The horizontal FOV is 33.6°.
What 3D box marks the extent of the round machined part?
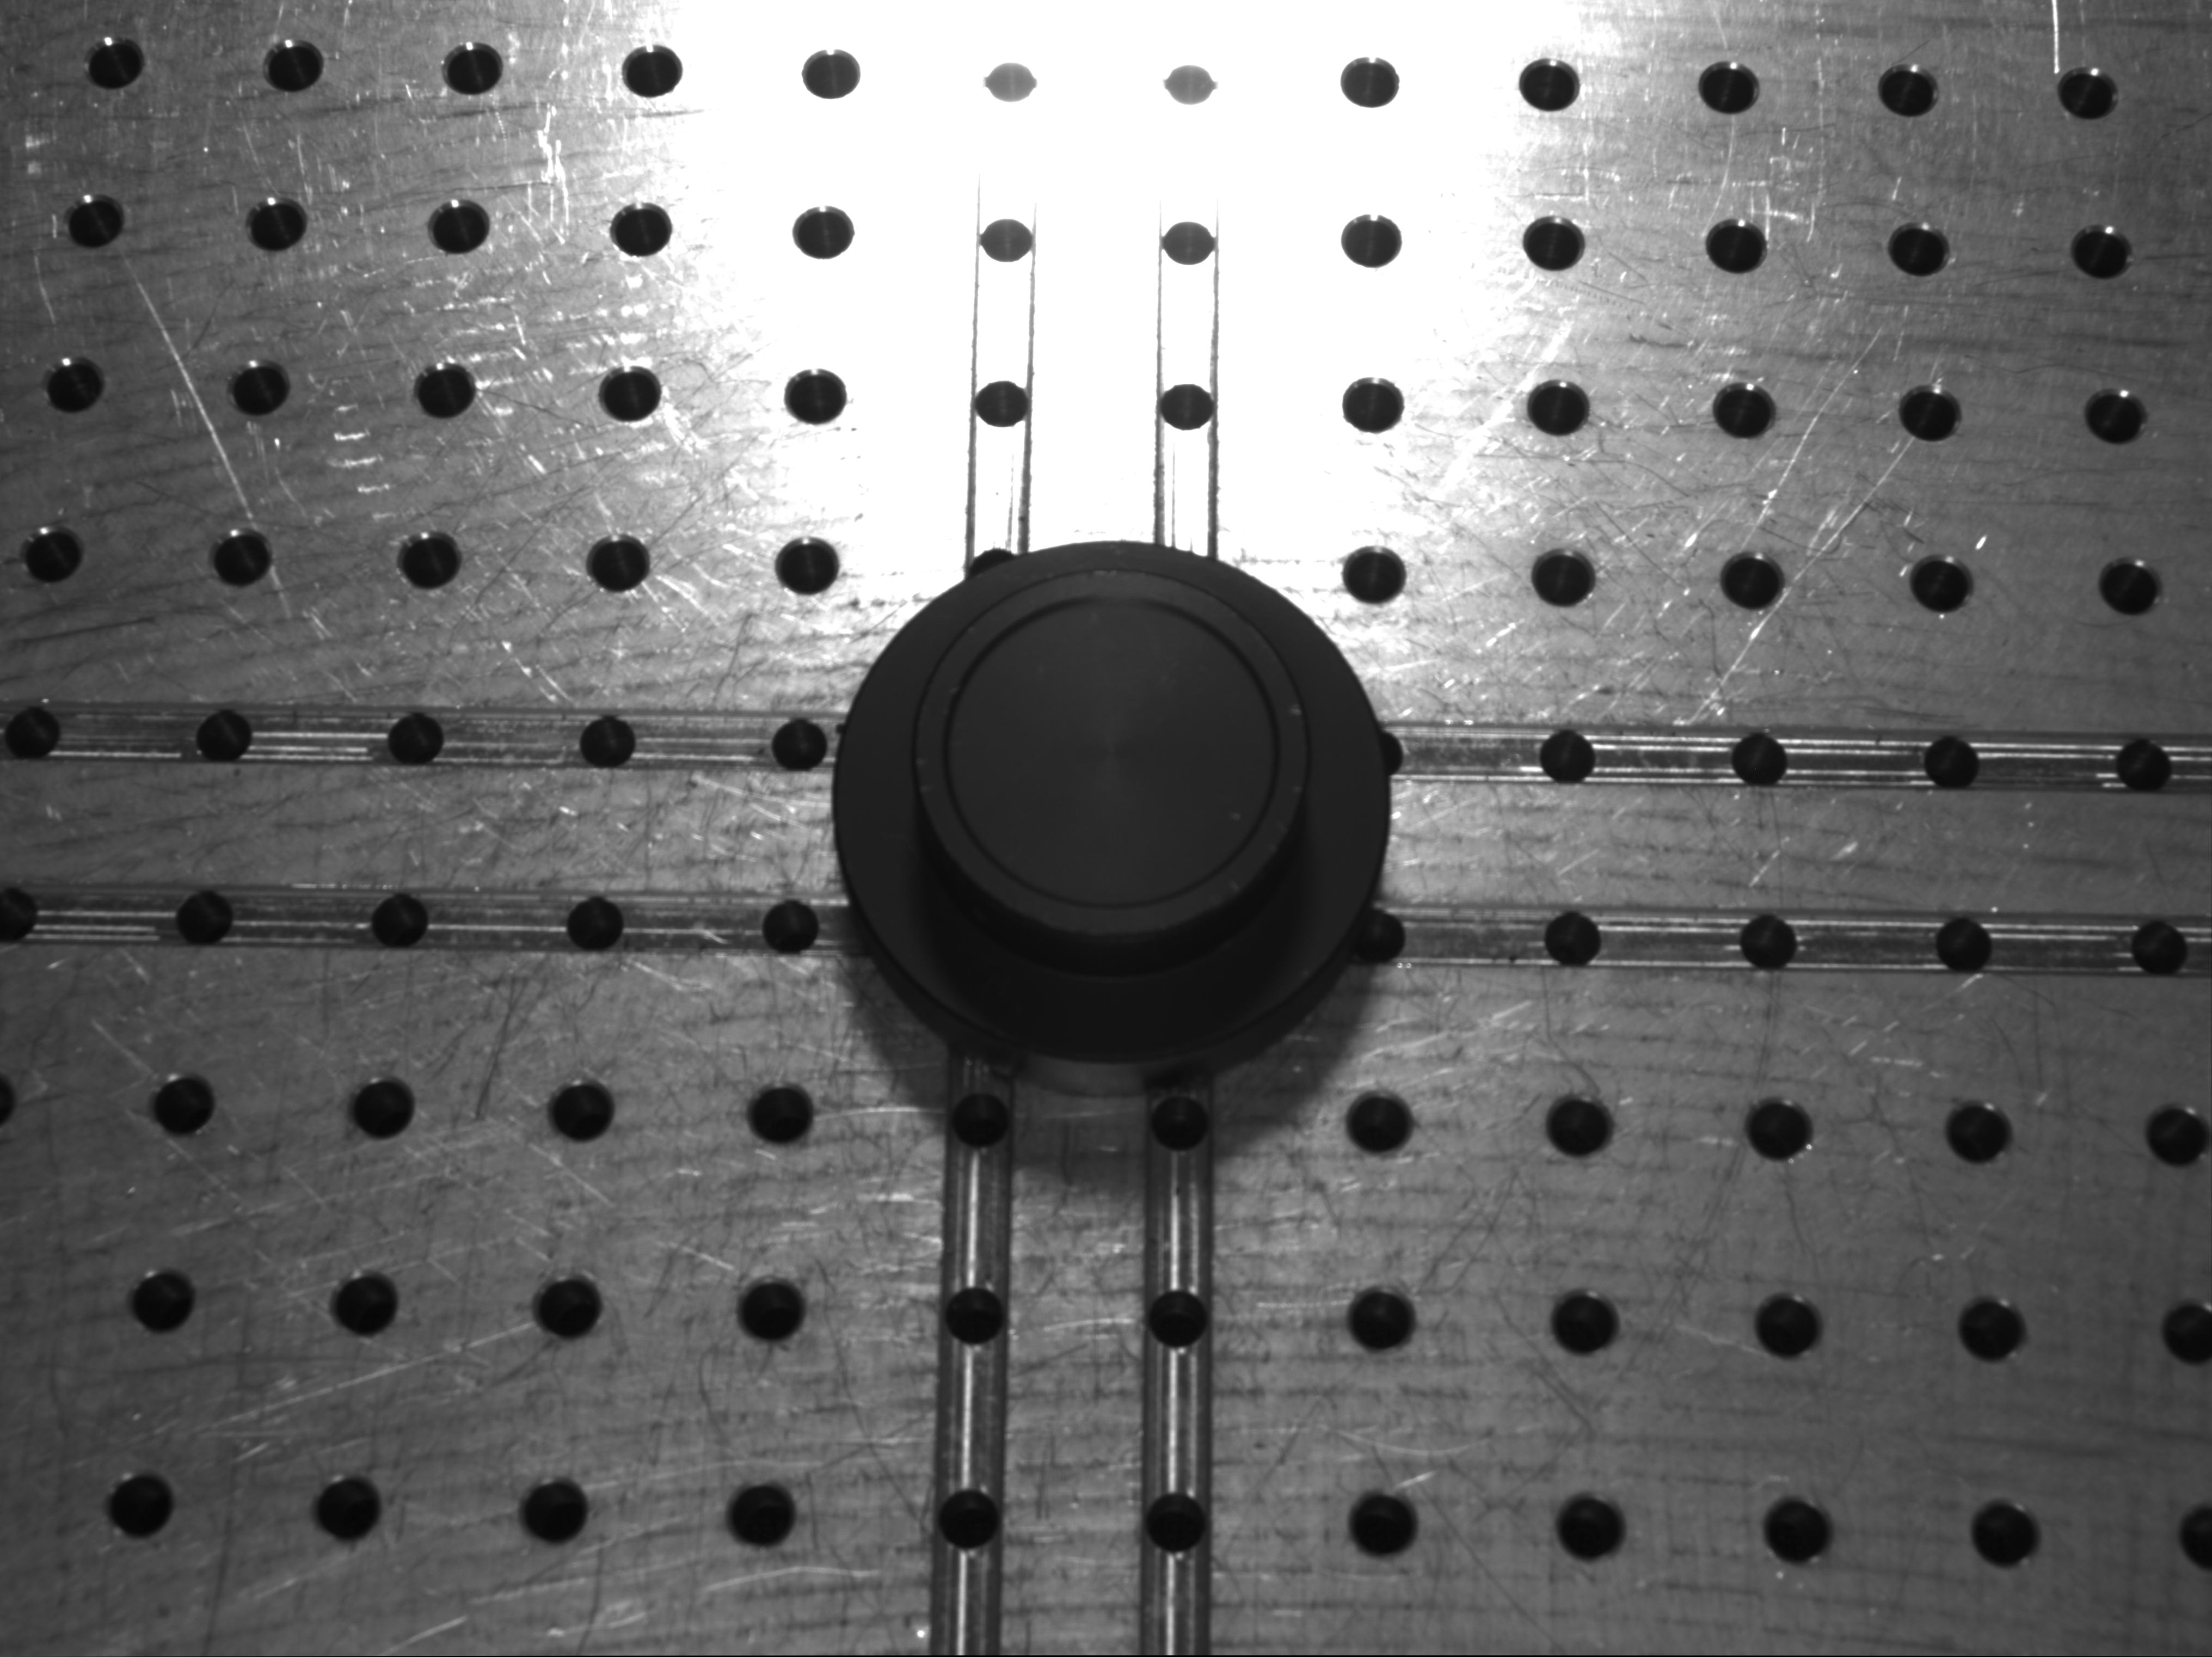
[{"bbox_3d":[0.003,-0.006,0.640,0.098,0.042,0.098,0,70,0],"label":"round machined part"}]
